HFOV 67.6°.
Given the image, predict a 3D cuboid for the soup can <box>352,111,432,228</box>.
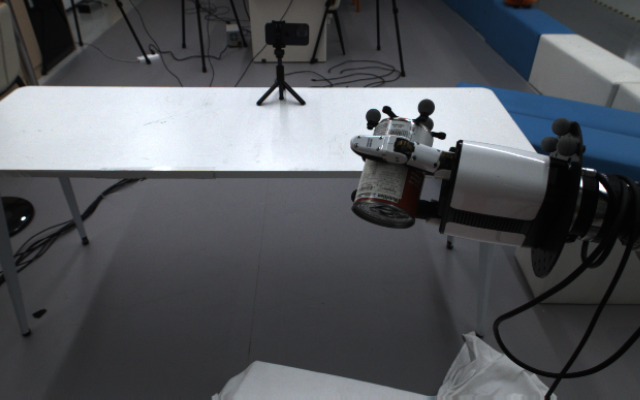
[{"bbox_3d":[0.080,-0.031,0.523,0.067,0.067,0.101,12,70,14],"label":"soup can"}]
